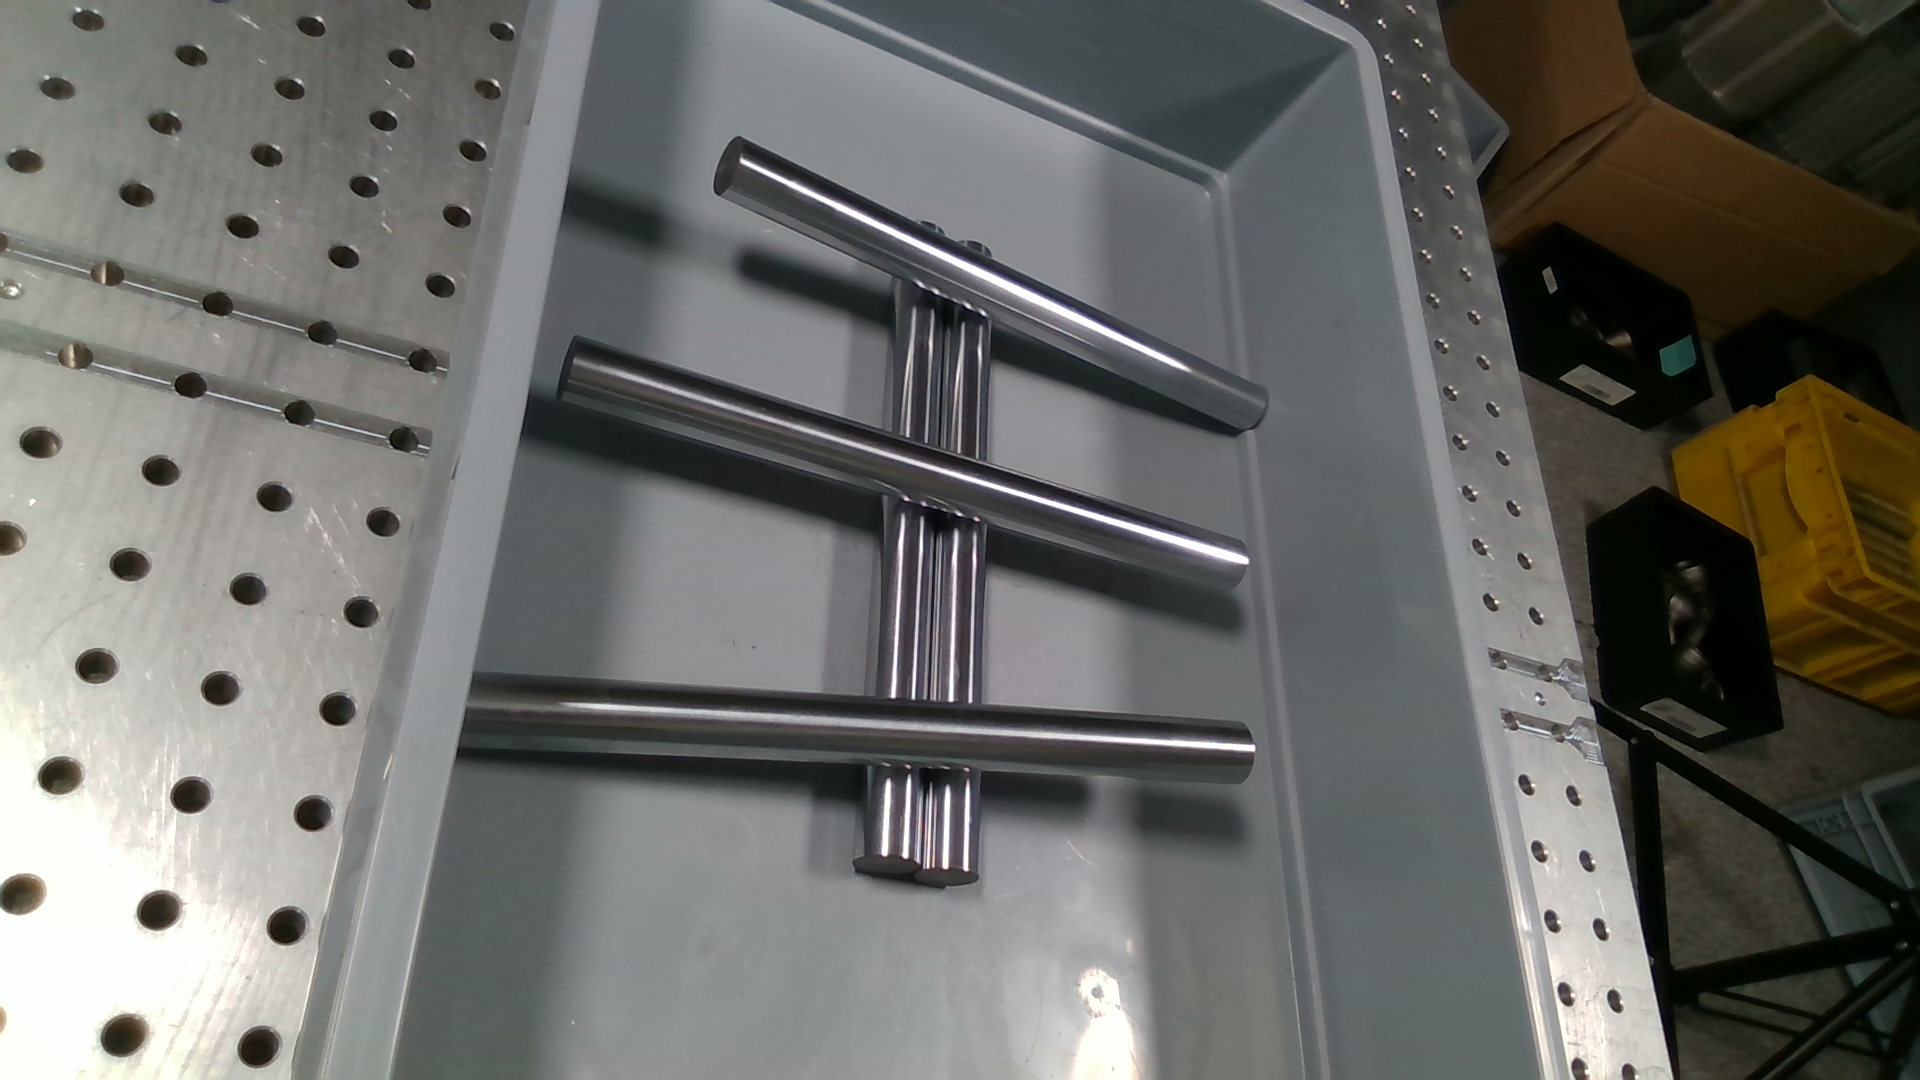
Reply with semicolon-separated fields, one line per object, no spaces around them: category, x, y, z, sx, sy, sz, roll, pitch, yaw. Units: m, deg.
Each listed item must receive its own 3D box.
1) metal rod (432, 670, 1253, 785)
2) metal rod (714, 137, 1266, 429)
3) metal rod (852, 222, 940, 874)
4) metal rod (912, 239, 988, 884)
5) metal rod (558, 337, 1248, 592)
metal rod;-0.030;0.070;0.500;0.300;0.025;0.025;6;62;-20
metal rod;0.028;-0.109;0.629;0.300;0.025;0.025;19;56;-32
metal rod;-0.023;-0.012;0.577;0.025;0.025;0.299;16;58;-24
metal rod;-0.002;-0.005;0.587;0.025;0.025;0.299;16;58;-24
metal rod;-0.010;-0.025;0.560;0.300;0.025;0.025;15;58;-24
